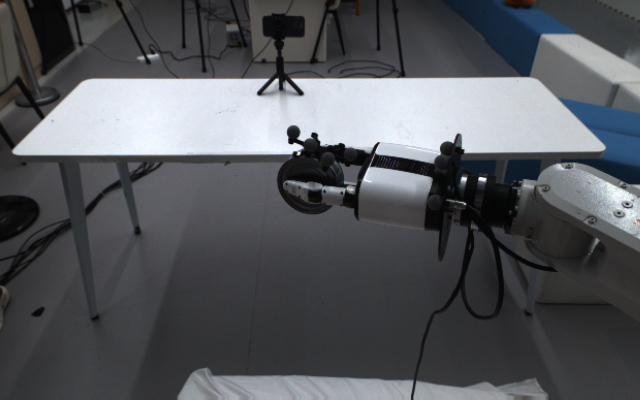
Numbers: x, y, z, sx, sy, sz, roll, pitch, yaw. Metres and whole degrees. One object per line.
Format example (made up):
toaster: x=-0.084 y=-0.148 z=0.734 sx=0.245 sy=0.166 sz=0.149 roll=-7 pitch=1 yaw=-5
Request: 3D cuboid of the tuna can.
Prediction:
tuna can: x=-0.011 y=-0.025 z=0.652 sx=0.085 sy=0.085 sz=0.034 roll=12 pitch=30 yaw=15
